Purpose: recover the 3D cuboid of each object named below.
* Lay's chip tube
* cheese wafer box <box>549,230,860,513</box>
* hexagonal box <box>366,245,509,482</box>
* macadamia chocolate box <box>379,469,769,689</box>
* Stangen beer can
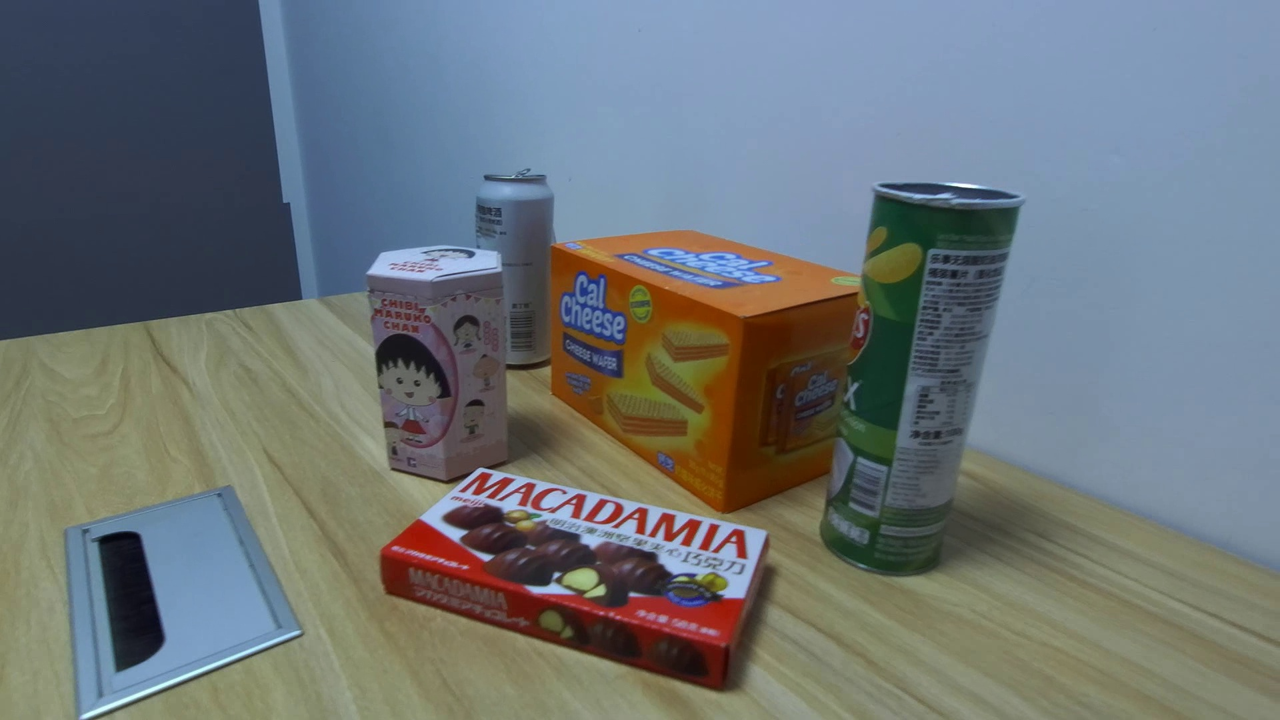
[{"bbox_3d":[0.145,0.011,0.375,0.071,0.202,0.071,2,21,0],"label":"Lay's chip tube"},{"bbox_3d":[0.049,-0.010,0.527,0.149,0.129,0.220,-13,26,-34],"label":"cheese wafer box"},{"bbox_3d":[-0.129,0.001,0.468,0.091,0.136,0.084,9,22,17],"label":"hexagonal box"},{"bbox_3d":[-0.030,0.104,0.365,0.177,0.027,0.096,9,21,18],"label":"macadamia chocolate box"},{"bbox_3d":[-0.110,-0.083,0.640,0.070,0.173,0.070,16,23,33],"label":"Stangen beer can"}]
